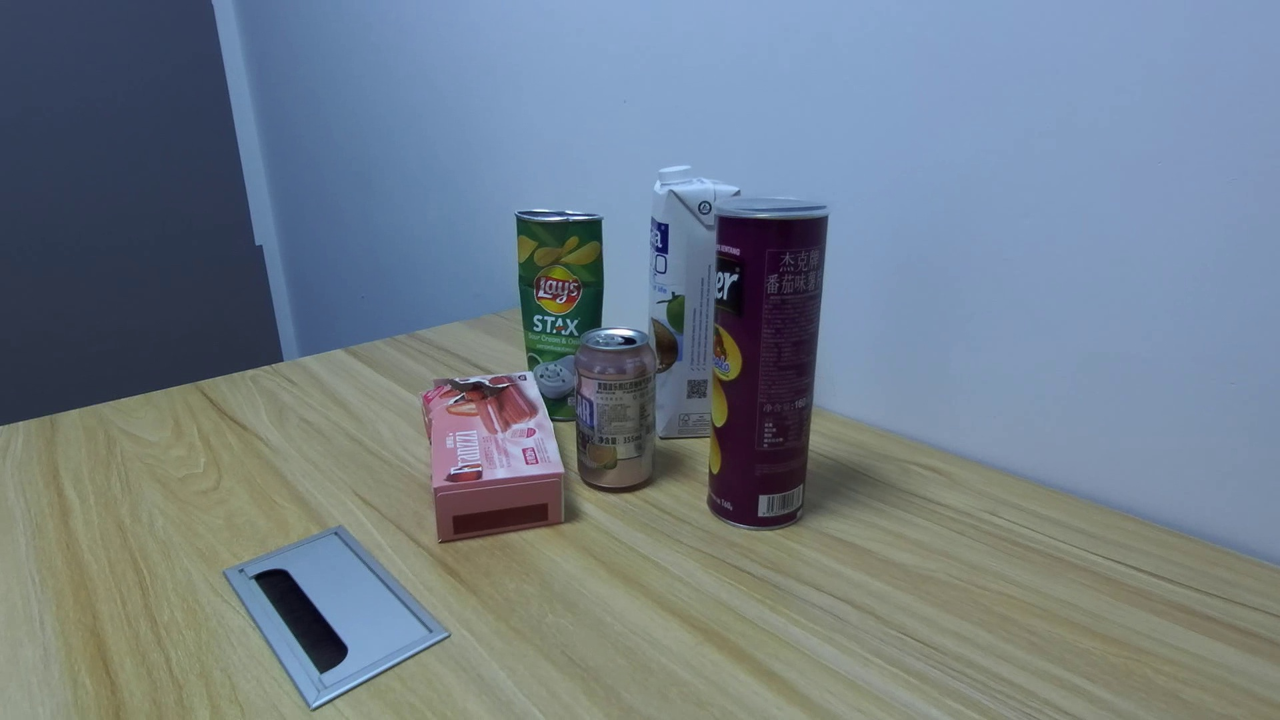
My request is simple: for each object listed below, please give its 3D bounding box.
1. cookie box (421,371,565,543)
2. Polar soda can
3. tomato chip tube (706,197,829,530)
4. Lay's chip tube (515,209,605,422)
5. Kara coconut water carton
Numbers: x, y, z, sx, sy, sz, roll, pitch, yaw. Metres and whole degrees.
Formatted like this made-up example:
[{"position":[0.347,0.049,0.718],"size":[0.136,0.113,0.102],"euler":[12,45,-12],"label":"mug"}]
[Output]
[{"position":[-0.125,0.071,0.593],"size":[0.105,0.059,0.185],"euler":[-8,23,-16],"label":"cookie box"},{"position":[-0.020,0.040,0.584],"size":[0.067,0.125,0.067],"euler":[0,19,0],"label":"Polar soda can"},{"position":[0.091,0.005,0.516],"size":[0.078,0.234,0.078],"euler":[0,20,0],"label":"tomato chip tube"},{"position":[-0.076,-0.043,0.697],"size":[0.075,0.199,0.068],"euler":[-7,22,-17],"label":"Lay's chip tube"},{"position":[0.048,-0.051,0.652],"size":[0.075,0.245,0.077],"euler":[0,20,-6],"label":"Kara coconut water carton"}]
